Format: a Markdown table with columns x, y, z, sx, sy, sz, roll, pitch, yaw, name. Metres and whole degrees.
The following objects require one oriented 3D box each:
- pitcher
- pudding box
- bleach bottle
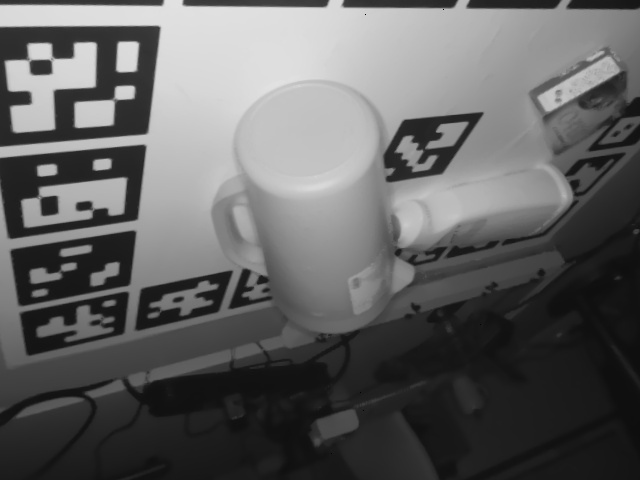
| x | y | z | sx | sy | sz | roll | pitch | yaw | name |
| --- | --- | --- | --- | --- | --- | --- | --- | --- | --- |
| 0.001 | -0.038 | 0.620 | 0.188 | 0.135 | 0.241 | 6 | 148 | 14 | pitcher |
| 0.298 | -0.143 | 0.723 | 0.089 | 0.039 | 0.114 | -27 | 149 | 16 | pudding box |
| 0.202 | -0.027 | 0.823 | 0.254 | 0.068 | 0.101 | -9 | 143 | -22 | bleach bottle |
